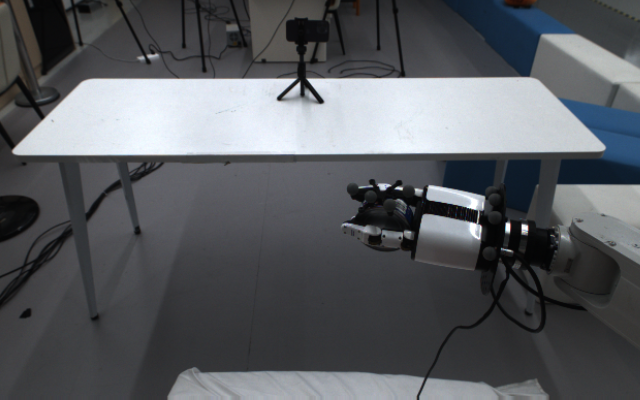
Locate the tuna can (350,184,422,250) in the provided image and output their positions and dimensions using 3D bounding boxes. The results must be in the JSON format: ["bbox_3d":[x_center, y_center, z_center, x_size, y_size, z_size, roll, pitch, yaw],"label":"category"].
[{"bbox_3d":[0.097,0.038,0.707,0.085,0.085,0.034,12,39,13],"label":"tuna can"}]
